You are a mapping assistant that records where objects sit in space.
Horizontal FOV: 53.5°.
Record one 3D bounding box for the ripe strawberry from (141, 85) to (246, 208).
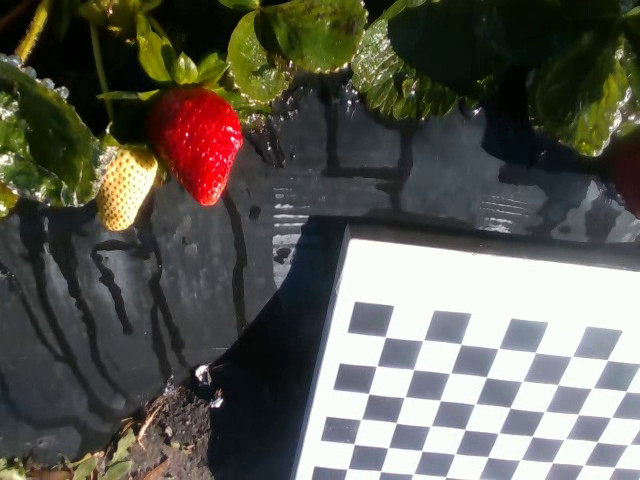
[{"bbox_3d":[-0.055,-0.039,0.296,0.042,0.061,0.046,-5,-10,1],"label":"ripe strawberry"}]
